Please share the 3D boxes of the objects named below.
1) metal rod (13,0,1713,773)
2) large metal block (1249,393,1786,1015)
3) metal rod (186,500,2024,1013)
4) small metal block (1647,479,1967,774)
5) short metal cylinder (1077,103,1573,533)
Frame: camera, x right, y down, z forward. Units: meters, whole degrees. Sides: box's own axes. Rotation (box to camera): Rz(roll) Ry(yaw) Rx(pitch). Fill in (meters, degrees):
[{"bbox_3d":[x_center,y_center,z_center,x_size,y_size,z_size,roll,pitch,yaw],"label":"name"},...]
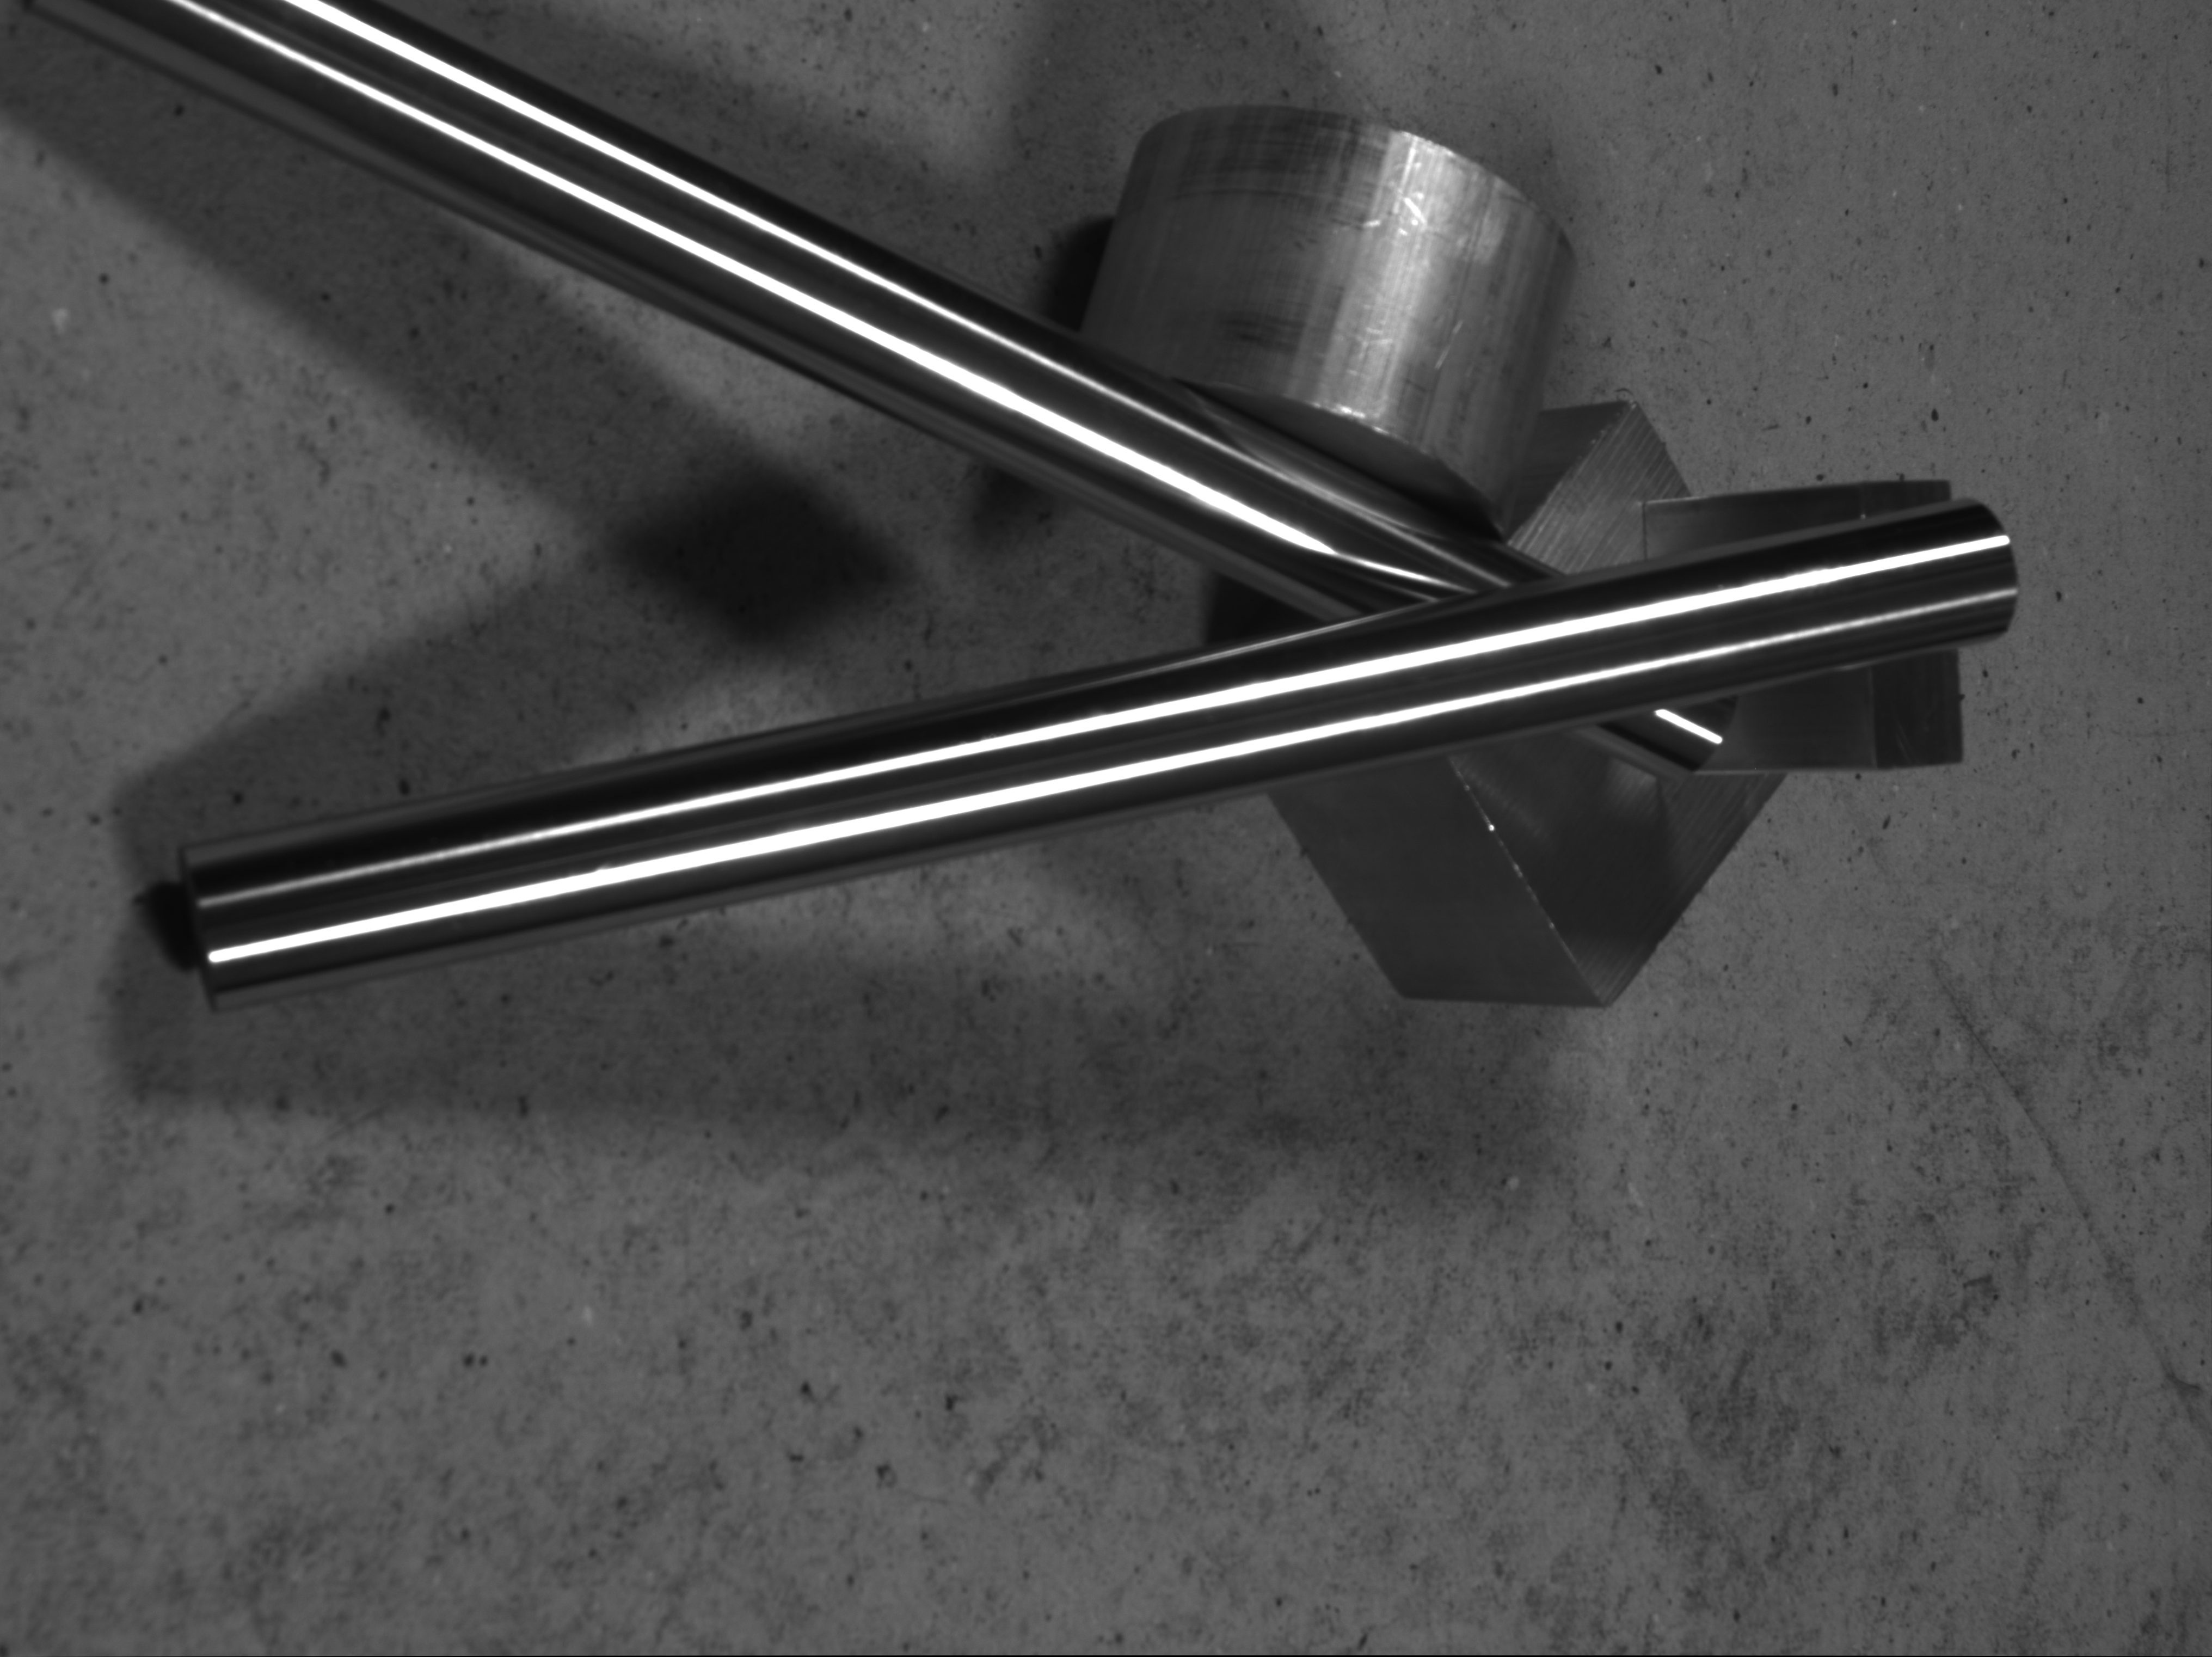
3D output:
[{"bbox_3d":[-0.025,-0.075,0.580,0.301,0.025,0.025,23,75,-26],"label":"metal rod"},{"bbox_3d":[0.078,-0.023,0.684,0.080,0.050,0.080,-48,118,-28],"label":"large metal block"},{"bbox_3d":[0.009,-0.015,0.576,0.300,0.025,0.025,-12,98,-18],"label":"metal rod"},{"bbox_3d":[0.125,-0.036,0.657,0.025,0.050,0.050,-5,93,-39],"label":"small metal block"},{"bbox_3d":[0.036,-0.083,0.633,0.080,0.080,0.050,26,73,-37],"label":"short metal cylinder"}]
